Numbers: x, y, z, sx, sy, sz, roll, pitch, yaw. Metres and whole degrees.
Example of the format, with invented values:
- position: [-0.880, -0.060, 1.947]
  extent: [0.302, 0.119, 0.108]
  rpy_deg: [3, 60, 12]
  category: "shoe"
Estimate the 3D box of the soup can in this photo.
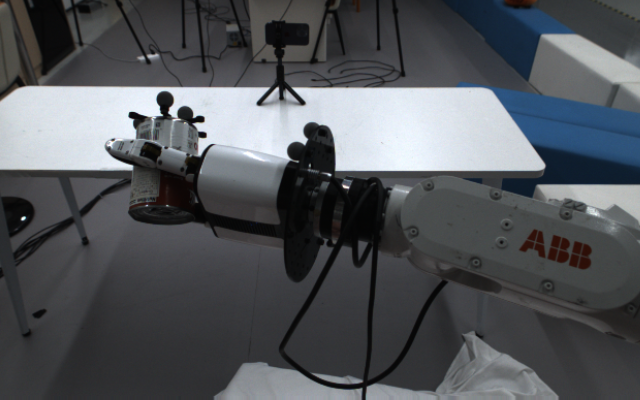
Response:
- position: [-0.165, -0.030, 0.522]
  extent: [0.067, 0.067, 0.101]
  rpy_deg: [-1, 71, -5]
  category: "soup can"
